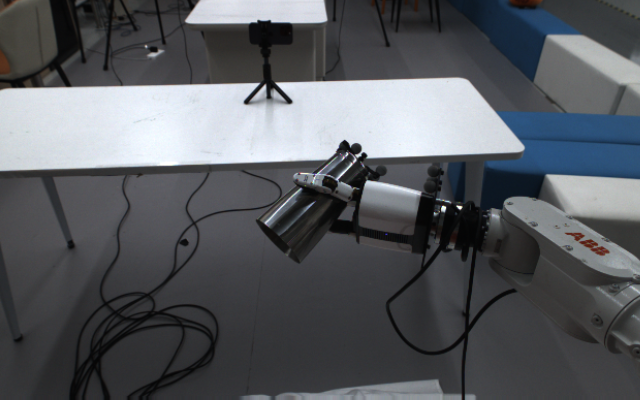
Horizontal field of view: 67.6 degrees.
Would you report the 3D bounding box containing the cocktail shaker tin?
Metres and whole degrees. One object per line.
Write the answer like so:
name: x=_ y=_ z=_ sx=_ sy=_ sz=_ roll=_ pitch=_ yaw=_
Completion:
cocktail shaker tin: x=-0.005 y=-0.002 z=0.737 sx=0.170 sy=0.093 sz=0.093 roll=-44 pitch=50 yaw=-14
